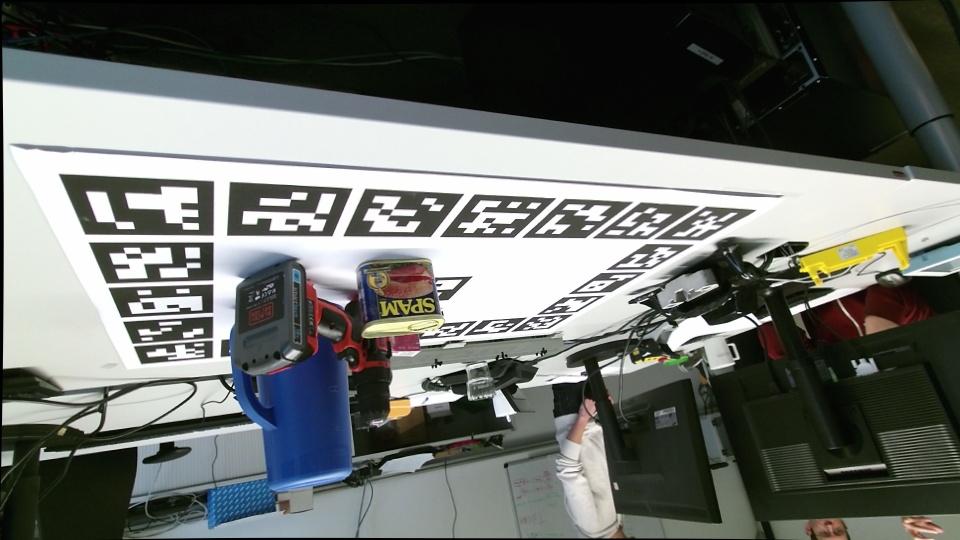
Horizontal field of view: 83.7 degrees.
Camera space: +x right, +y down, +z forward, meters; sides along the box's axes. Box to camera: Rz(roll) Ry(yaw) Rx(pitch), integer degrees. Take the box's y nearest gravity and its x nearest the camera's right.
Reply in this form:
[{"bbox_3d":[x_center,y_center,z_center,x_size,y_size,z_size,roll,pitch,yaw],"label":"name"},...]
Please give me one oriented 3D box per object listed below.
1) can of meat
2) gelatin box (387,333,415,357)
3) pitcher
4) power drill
[{"bbox_3d":[-0.103,0.034,0.677,0.102,0.083,0.058,-1,157,-27],"label":"can of meat"},{"bbox_3d":[-0.150,0.096,0.824,0.090,0.073,0.030,7,147,-37],"label":"gelatin box"},{"bbox_3d":[-0.262,0.169,0.729,0.133,0.241,0.189,-27,161,23],"label":"pitcher"},{"bbox_3d":[-0.180,0.104,0.679,0.057,0.183,0.187,-26,150,21],"label":"power drill"}]
